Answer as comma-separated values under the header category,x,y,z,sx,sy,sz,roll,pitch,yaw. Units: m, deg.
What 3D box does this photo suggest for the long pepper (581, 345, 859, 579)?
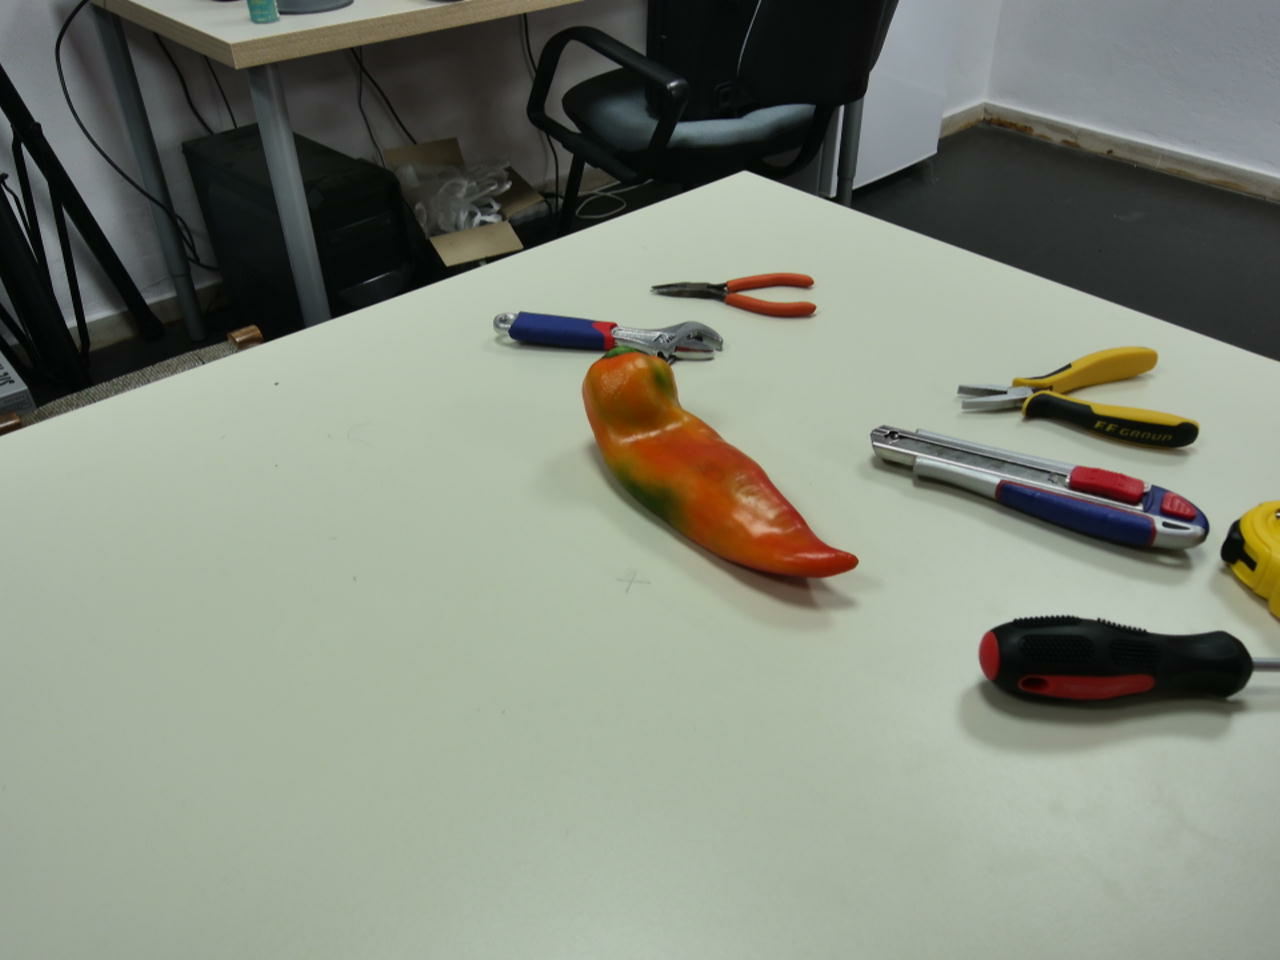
category,x,y,z,sx,sy,sz,roll,pitch,yaw
long pepper,0.037,-0.009,0.529,0.066,0.065,0.199,-23,41,-27
